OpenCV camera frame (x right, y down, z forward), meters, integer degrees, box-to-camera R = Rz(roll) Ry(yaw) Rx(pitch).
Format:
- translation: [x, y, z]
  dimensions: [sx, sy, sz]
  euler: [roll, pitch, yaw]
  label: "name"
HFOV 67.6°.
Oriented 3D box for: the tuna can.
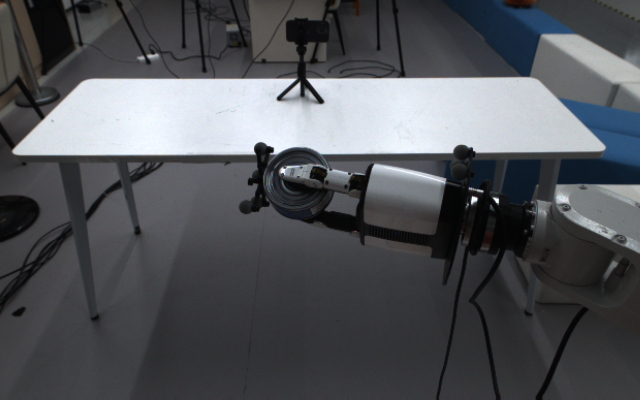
- translation: [-0.022, -0.018, 0.590]
  dimensions: [0.085, 0.034, 0.085]
  euler: [-2, 69, 6]
  label: "tuna can"
